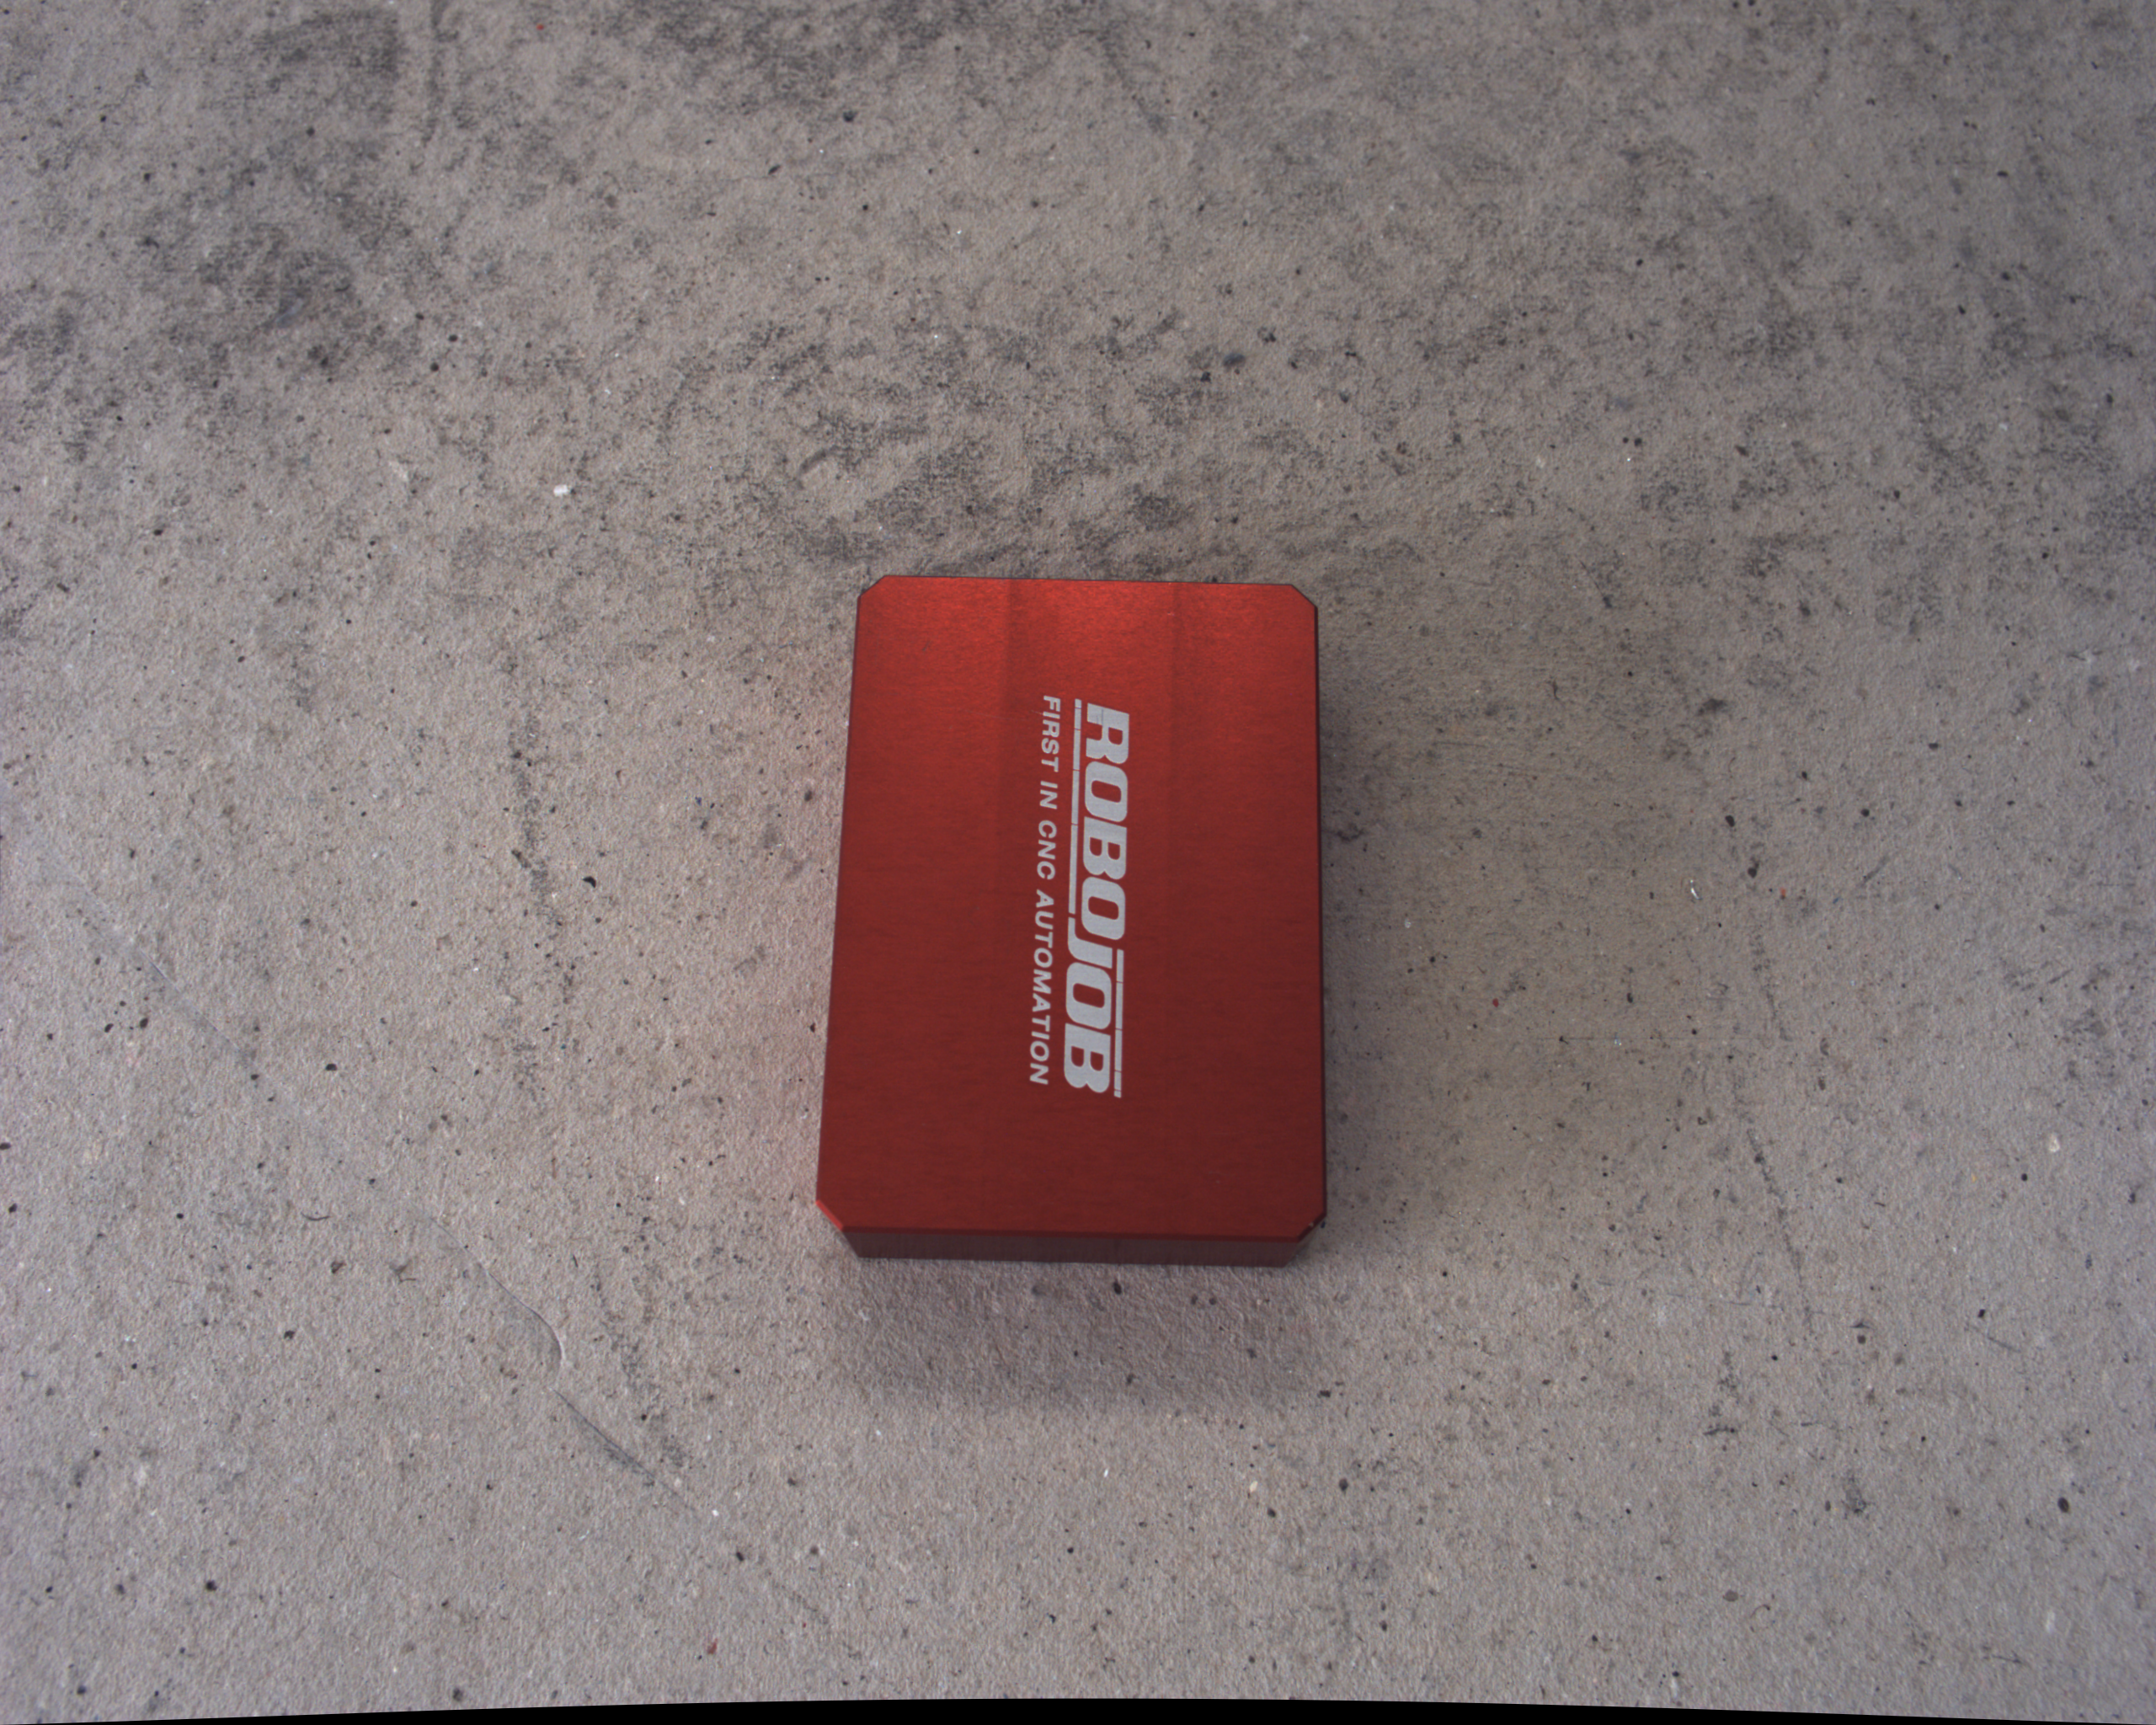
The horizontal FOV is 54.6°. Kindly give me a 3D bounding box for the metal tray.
[{"bbox_3d":[0.000,0.010,0.403,0.090,0.030,0.130,1,71,0],"label":"metal tray"}]
